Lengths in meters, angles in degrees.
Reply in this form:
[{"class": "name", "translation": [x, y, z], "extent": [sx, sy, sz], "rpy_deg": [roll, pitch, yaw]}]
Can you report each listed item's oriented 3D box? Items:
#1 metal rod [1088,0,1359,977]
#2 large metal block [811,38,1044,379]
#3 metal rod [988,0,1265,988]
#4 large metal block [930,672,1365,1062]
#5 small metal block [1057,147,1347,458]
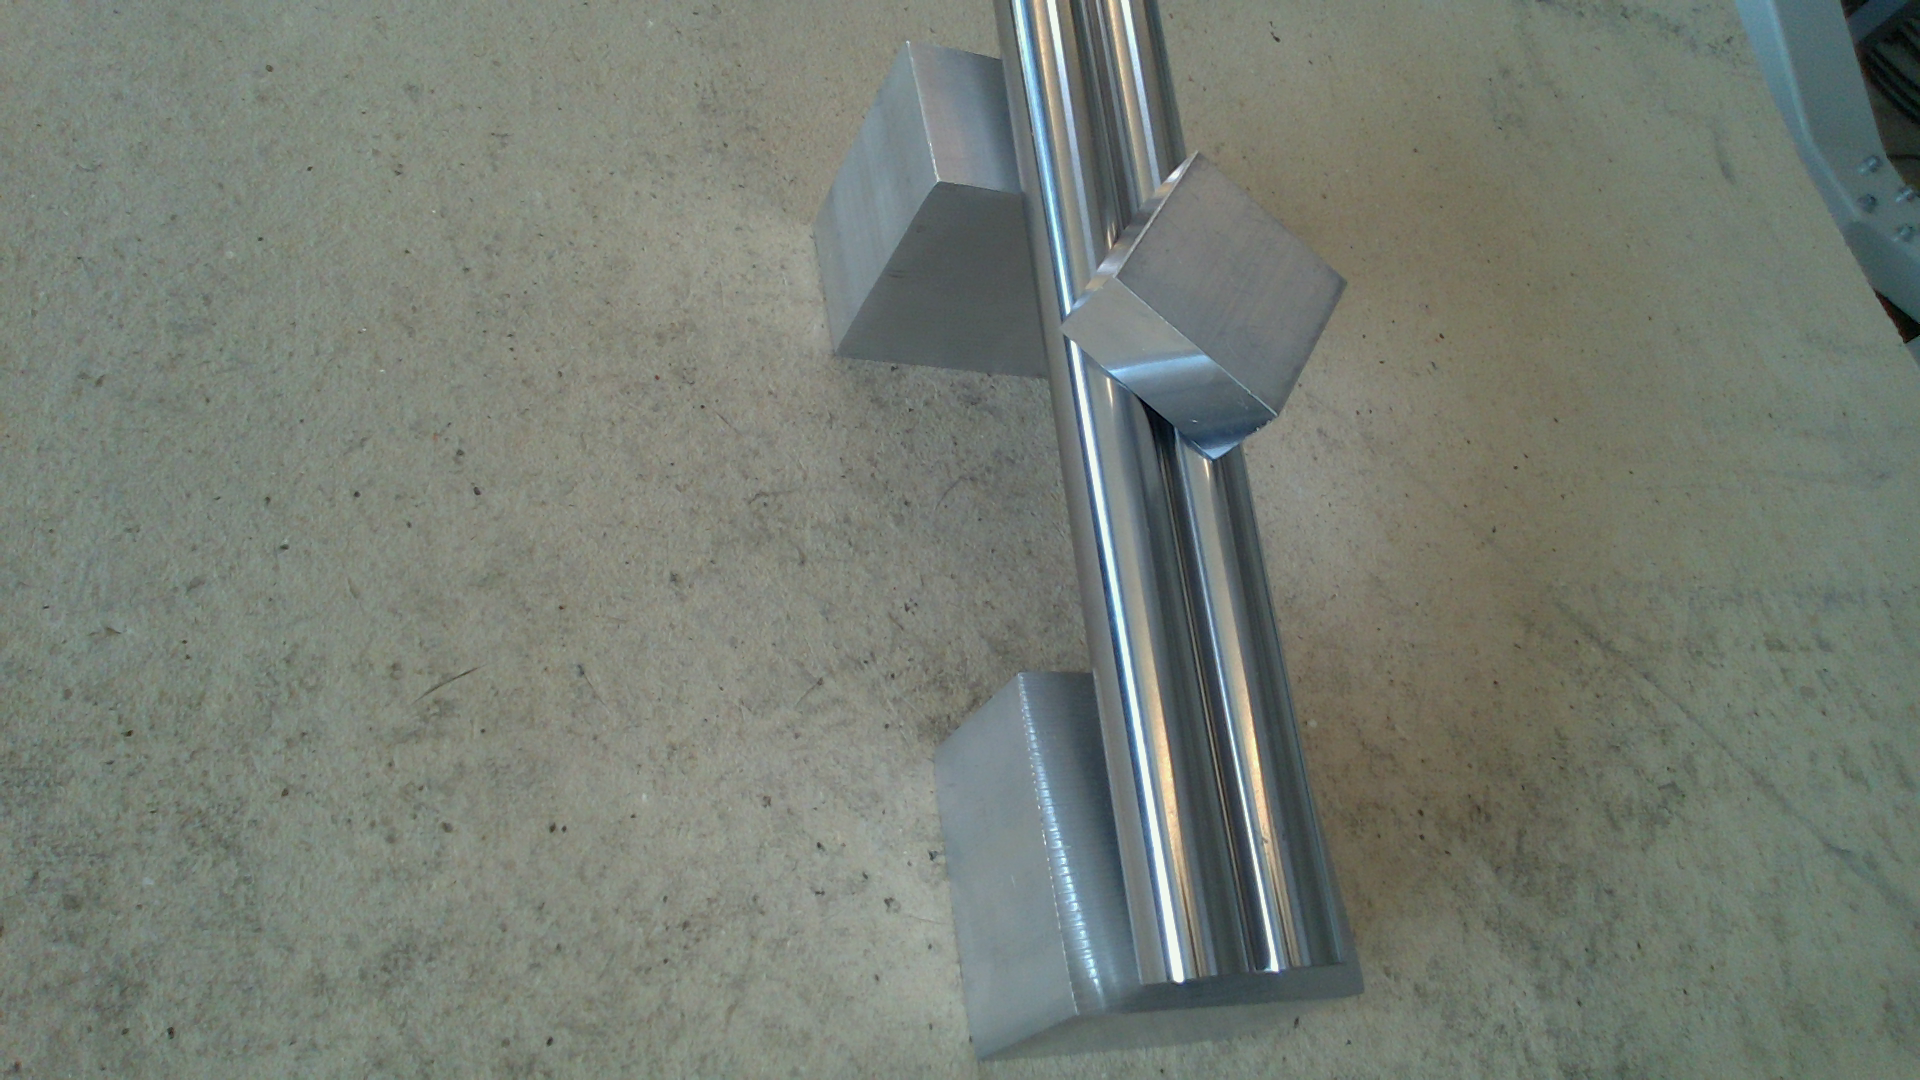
[{"class": "metal rod", "translation": [0.057, -0.045, 0.354], "extent": [0.025, 0.025, 0.300], "rpy_deg": [3, 67, -27]}, {"class": "large metal block", "translation": [0.008, -0.096, 0.418], "extent": [0.080, 0.080, 0.050], "rpy_deg": [3, 60, -27]}, {"class": "metal rod", "translation": [0.034, -0.046, 0.343], "extent": [0.025, 0.025, 0.300], "rpy_deg": [3, 67, -27]}, {"class": "large metal block", "translation": [0.044, 0.081, 0.347], "extent": [0.080, 0.050, 0.080], "rpy_deg": [5, 59, -26]}, {"class": "small metal block", "translation": [0.059, -0.057, 0.331], "extent": [0.050, 0.025, 0.050], "rpy_deg": [39, 56, -9]}]
